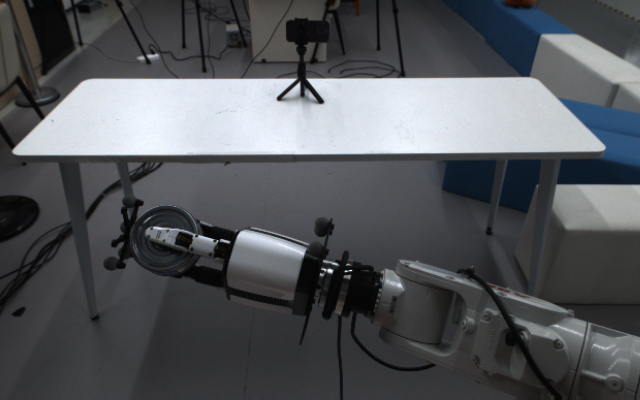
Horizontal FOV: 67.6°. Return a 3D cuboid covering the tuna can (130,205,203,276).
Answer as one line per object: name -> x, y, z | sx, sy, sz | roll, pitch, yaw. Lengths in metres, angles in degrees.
tuna can -> -0.186, 0.054, 0.596 | 0.085, 0.034, 0.085 | 1, 74, -4
